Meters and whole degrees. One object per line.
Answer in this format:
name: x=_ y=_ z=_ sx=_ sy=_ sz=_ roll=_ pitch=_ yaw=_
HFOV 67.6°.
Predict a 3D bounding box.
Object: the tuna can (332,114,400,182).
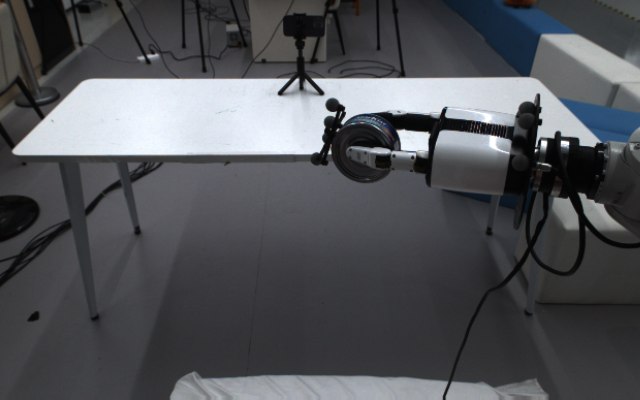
tuna can: x=0.061 y=-0.067 z=0.627 sx=0.085 sy=0.085 sz=0.034 roll=12 pitch=30 yaw=14
